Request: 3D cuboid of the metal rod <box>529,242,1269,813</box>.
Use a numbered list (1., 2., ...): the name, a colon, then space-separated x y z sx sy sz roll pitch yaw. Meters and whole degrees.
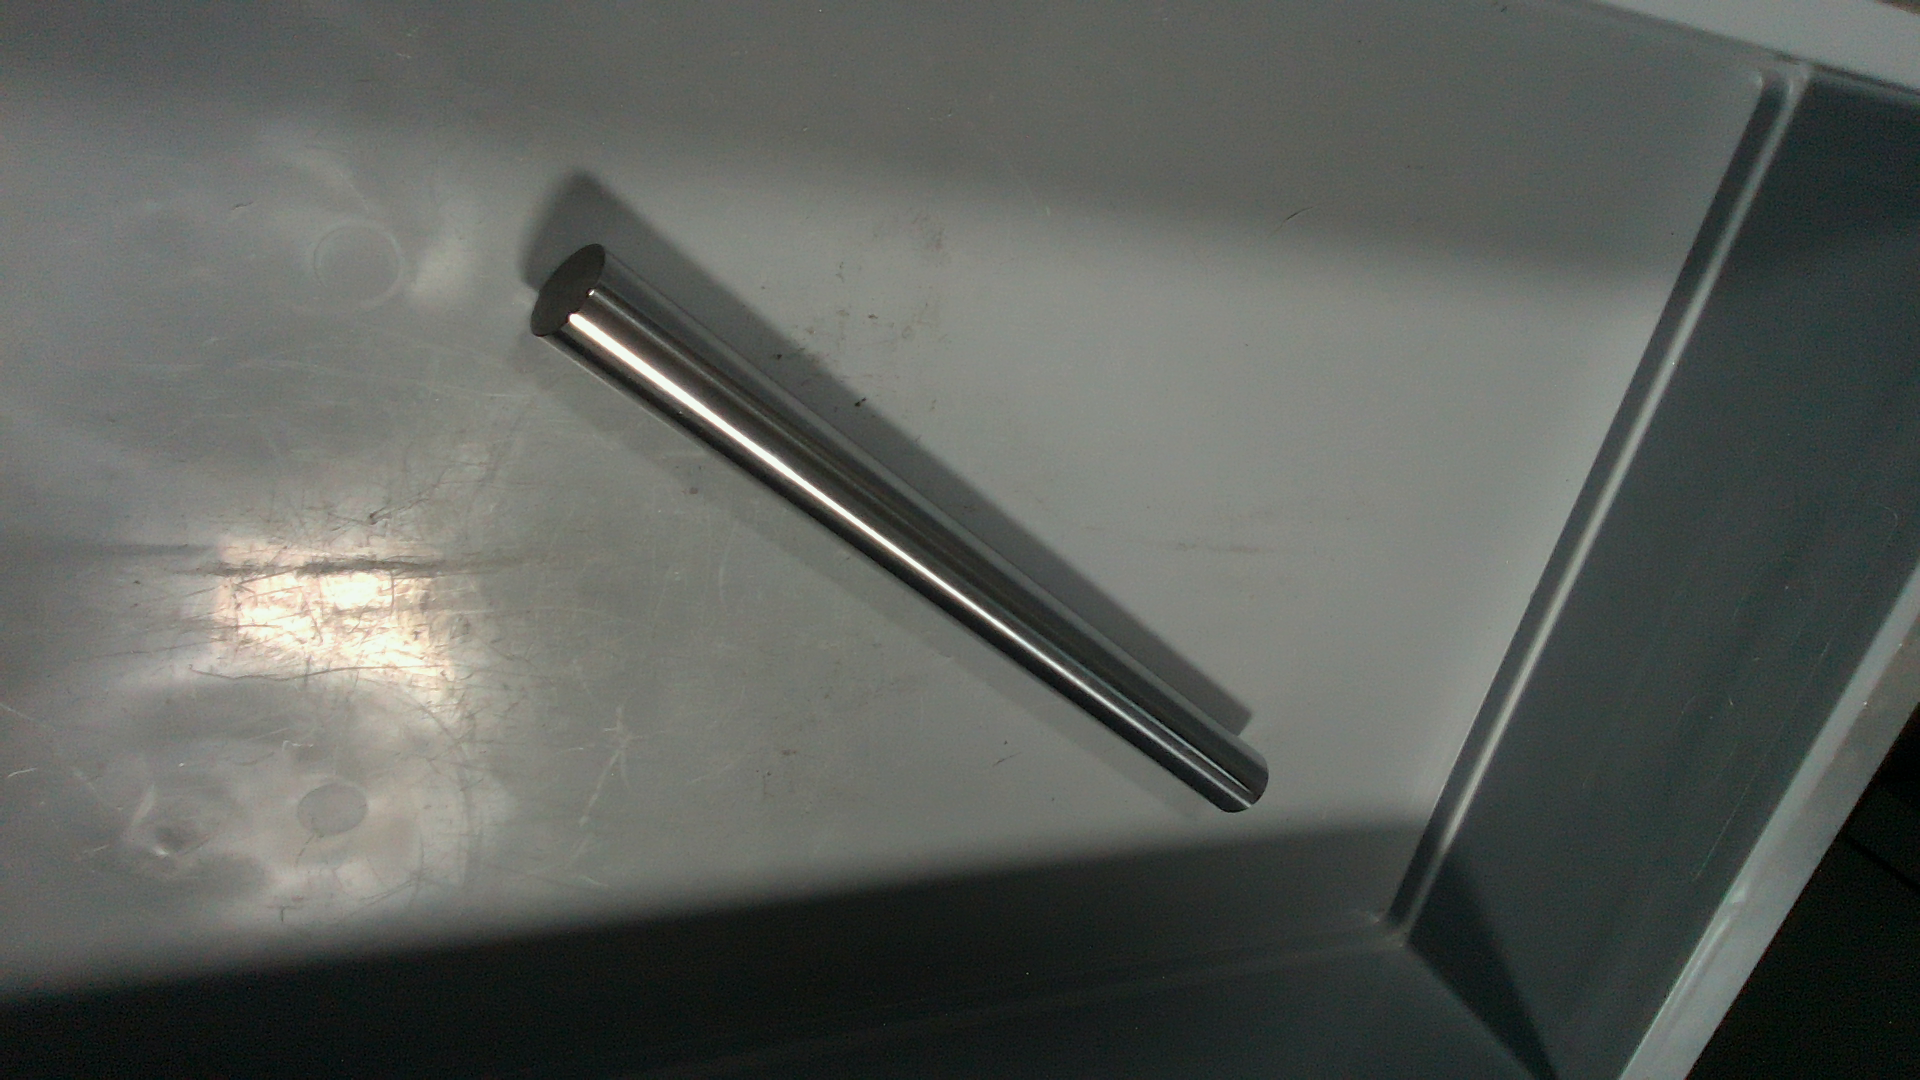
1. metal rod: 0.006 0.015 0.399 0.025 0.025 0.301 -48 129 6
